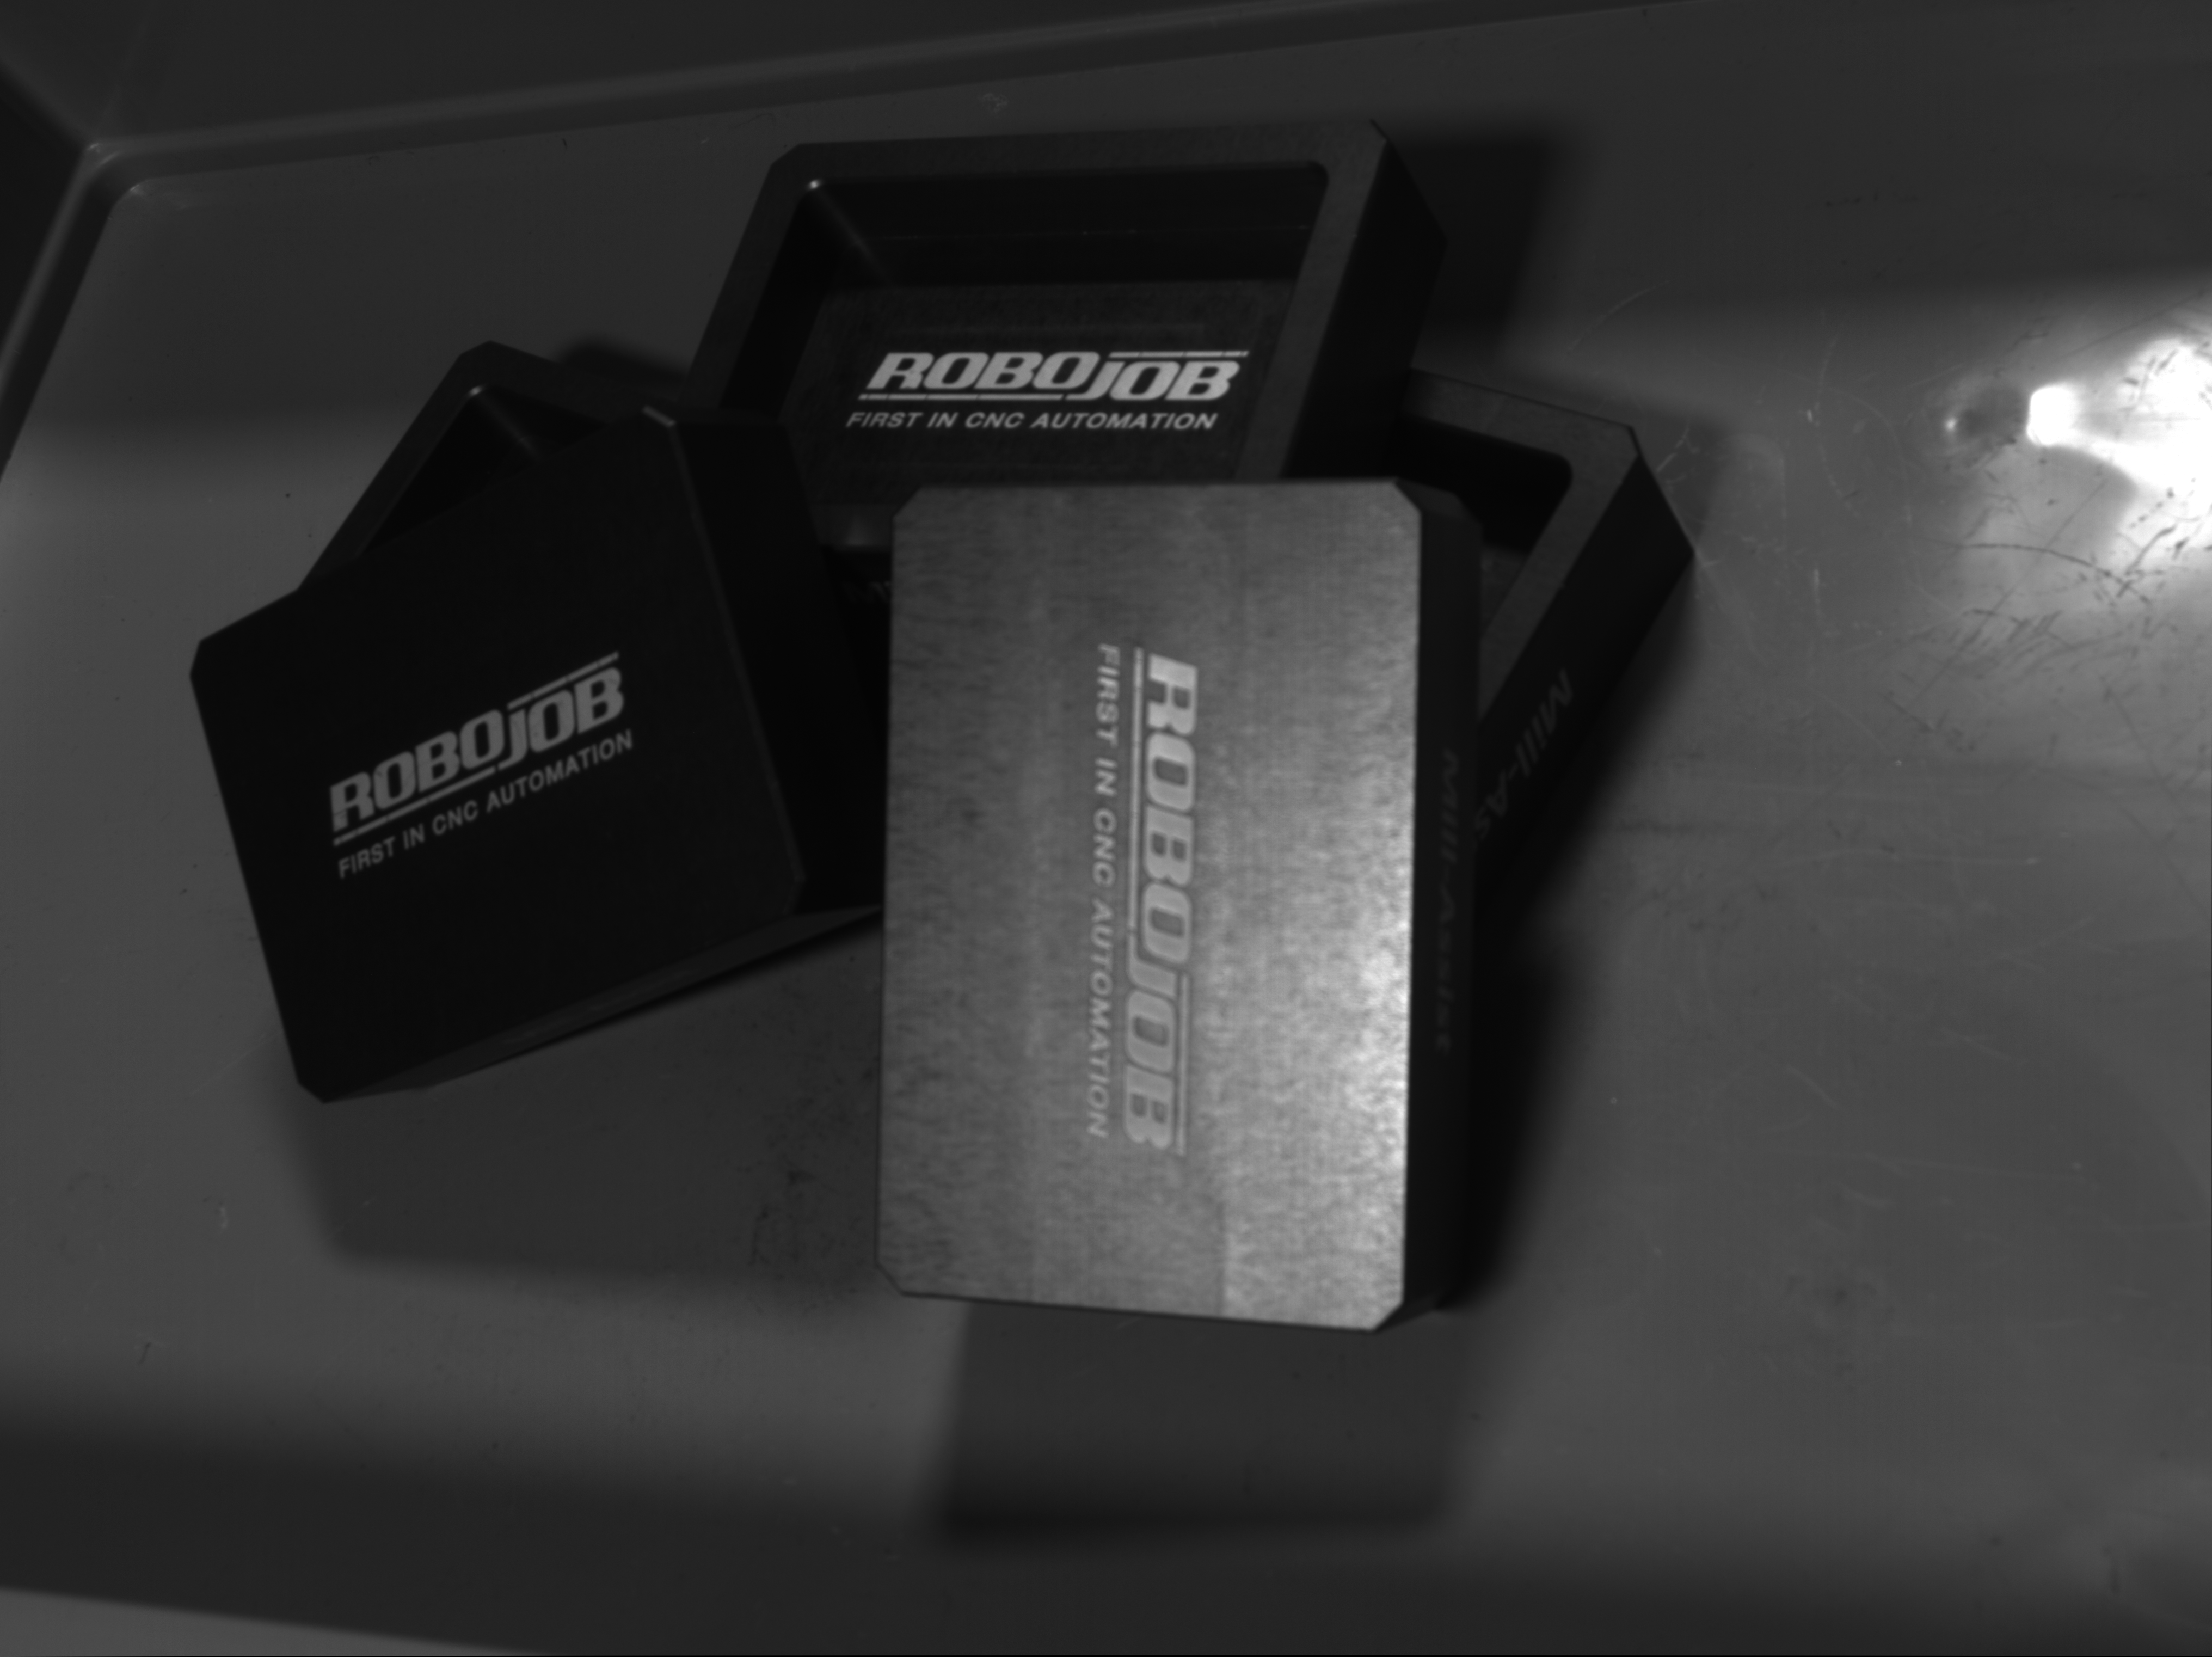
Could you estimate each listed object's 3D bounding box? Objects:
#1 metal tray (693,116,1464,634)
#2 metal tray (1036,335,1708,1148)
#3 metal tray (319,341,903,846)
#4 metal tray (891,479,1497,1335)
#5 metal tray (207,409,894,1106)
[{"bbox_3d":[-0.010,-0.080,0.655,0.130,0.030,0.090,4,63,30],"label":"metal tray"},{"bbox_3d":[0.034,-0.018,0.632,0.090,0.030,0.130,21,73,36],"label":"metal tray"},{"bbox_3d":[-0.095,-0.038,0.712,0.130,0.030,0.090,21,73,36],"label":"metal tray"},{"bbox_3d":[0.014,0.011,0.584,0.090,0.030,0.130,1,91,23],"label":"metal tray"},{"bbox_3d":[-0.100,-0.011,0.656,0.130,0.030,0.090,-22,81,35],"label":"metal tray"}]
